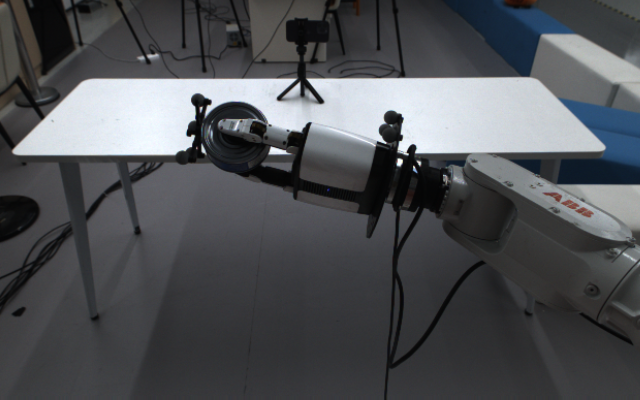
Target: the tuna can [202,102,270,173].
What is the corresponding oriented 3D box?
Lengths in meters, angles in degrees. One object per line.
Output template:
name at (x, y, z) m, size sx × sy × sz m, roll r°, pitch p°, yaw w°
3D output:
tuna can at (-0.104, -0.080, 0.610) m, size 0.085 × 0.034 × 0.085 m, roll 1°, pitch 74°, yaw -5°
